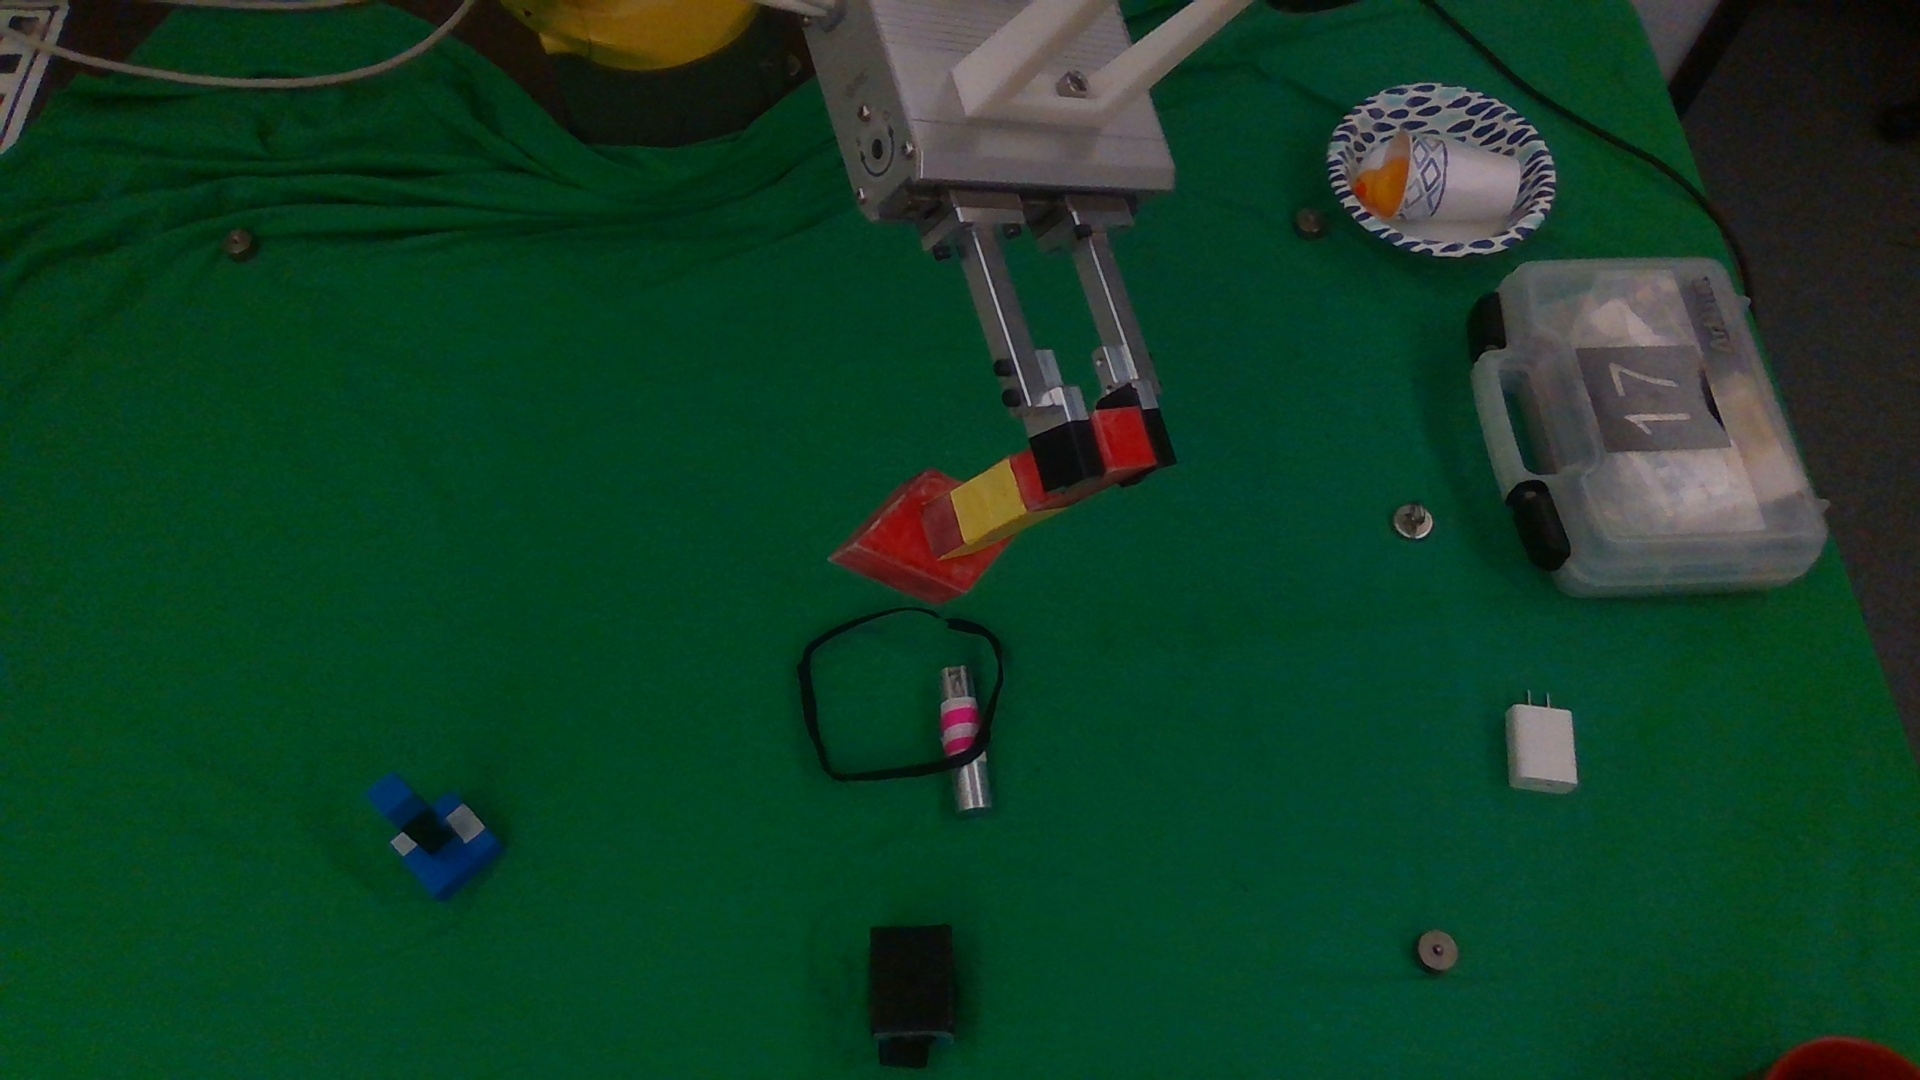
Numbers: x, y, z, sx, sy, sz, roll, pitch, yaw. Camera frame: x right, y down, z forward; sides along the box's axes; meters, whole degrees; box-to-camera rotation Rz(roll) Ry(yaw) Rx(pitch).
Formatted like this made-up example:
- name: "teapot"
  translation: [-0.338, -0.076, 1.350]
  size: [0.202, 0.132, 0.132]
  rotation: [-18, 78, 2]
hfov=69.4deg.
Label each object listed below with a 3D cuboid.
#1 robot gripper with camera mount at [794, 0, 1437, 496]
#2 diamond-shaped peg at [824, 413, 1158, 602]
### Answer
- name: "robot gripper with camera mount"
  translation: [0.074, -0.115, 0.403]
  size: [0.118, 0.194, 0.158]
  rotation: [-10, 81, -46]
- name: "diamond-shaped peg"
  translation: [0.016, -0.015, 0.476]
  size: [0.045, 0.122, 0.074]
  rotation: [51, 52, -12]
